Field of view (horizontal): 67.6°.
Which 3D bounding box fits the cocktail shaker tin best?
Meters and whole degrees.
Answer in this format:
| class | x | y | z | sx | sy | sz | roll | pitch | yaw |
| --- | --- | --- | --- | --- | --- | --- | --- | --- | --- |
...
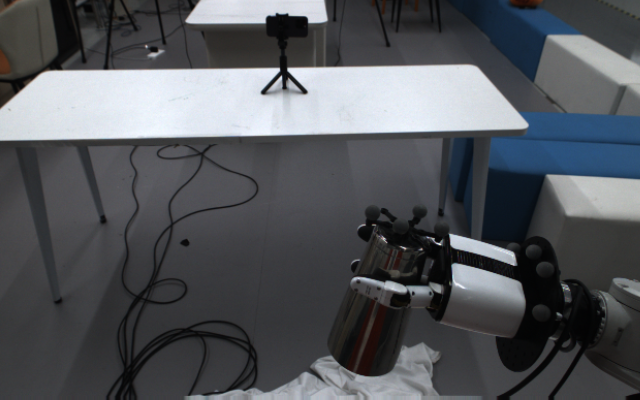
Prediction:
| class | x | y | z | sx | sy | sz | roll | pitch | yaw |
| --- | --- | --- | --- | --- | --- | --- | --- | --- | --- |
| cocktail shaker tin | 0.077 | 0.112 | 0.584 | 0.093 | 0.170 | 0.093 | 12 | 25 | -6 |
